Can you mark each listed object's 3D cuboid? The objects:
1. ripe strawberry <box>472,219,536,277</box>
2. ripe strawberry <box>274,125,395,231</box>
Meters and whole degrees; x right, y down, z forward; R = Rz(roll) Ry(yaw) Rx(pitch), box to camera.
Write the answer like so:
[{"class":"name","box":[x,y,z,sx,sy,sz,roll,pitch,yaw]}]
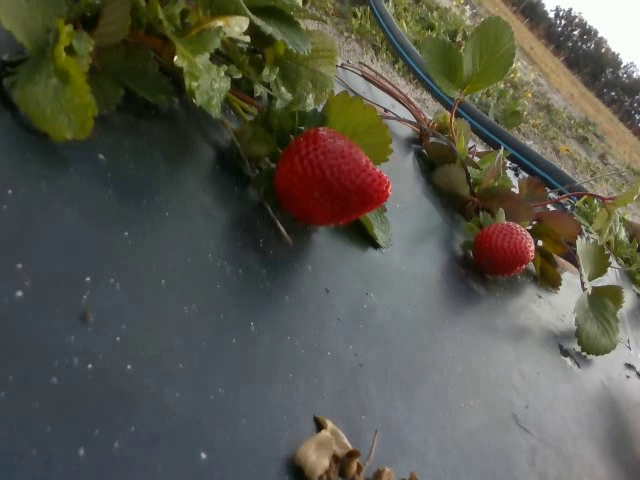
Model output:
[{"class":"ripe strawberry","box":[0.111,0.008,0.342,0.041,0.045,0.052,-20,12,-5]},{"class":"ripe strawberry","box":[0.008,-0.022,0.227,0.050,0.051,0.046,8,50,51]}]
